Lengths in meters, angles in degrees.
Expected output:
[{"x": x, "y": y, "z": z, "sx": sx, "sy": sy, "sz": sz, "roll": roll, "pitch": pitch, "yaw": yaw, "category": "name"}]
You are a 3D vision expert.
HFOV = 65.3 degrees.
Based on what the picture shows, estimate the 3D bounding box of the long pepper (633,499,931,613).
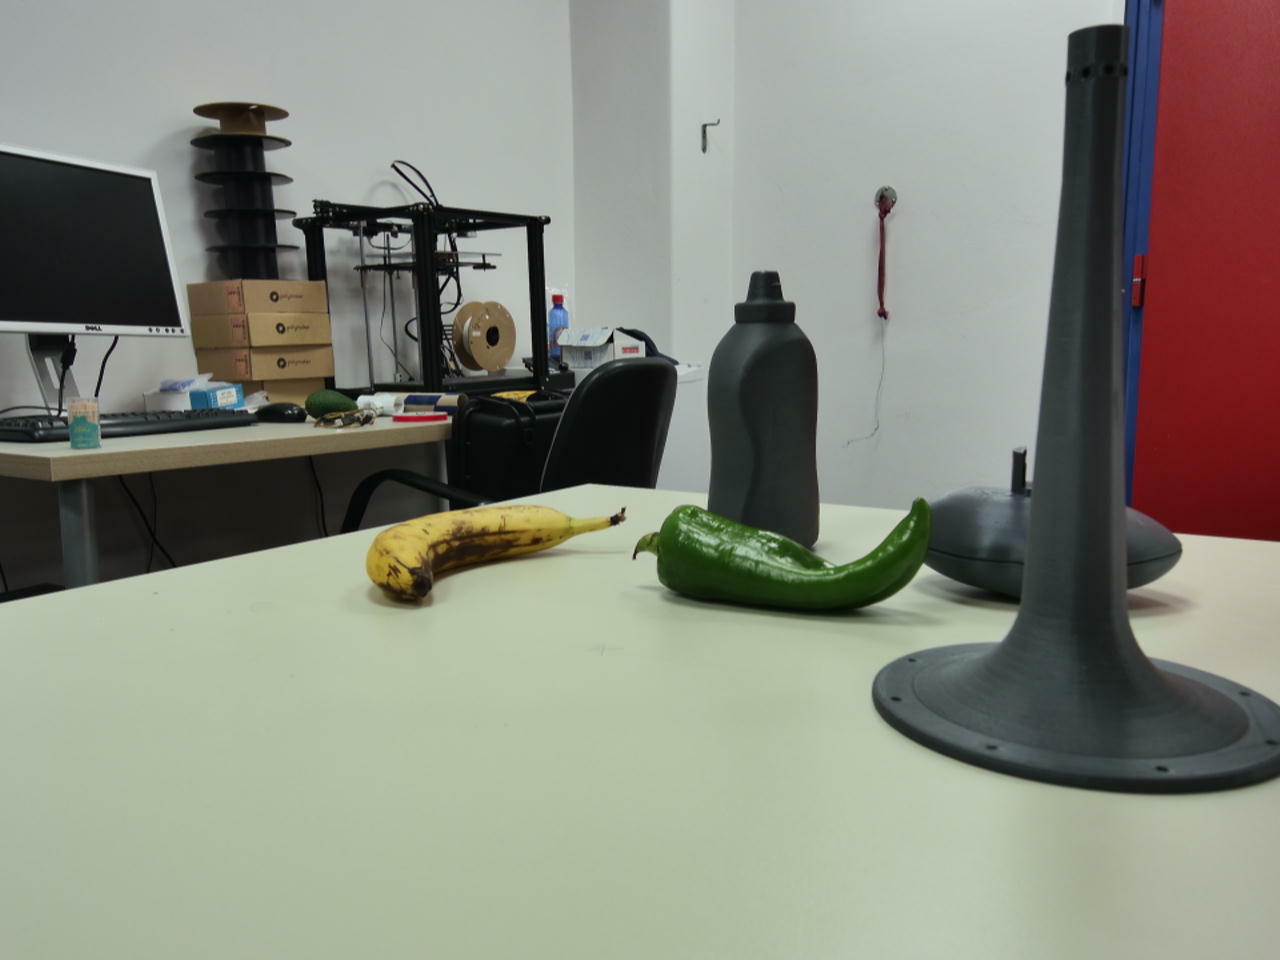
[{"x": 0.071, "y": 0.037, "z": 0.556, "sx": 0.175, "sy": 0.065, "sz": 0.058, "roll": 5, "pitch": 7, "yaw": 34, "category": "long pepper"}]
